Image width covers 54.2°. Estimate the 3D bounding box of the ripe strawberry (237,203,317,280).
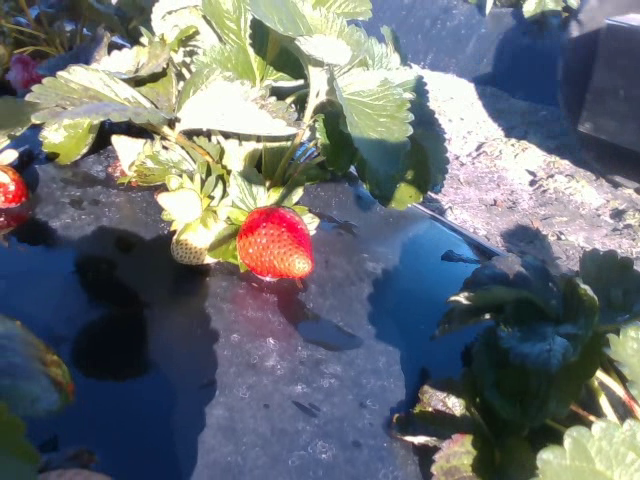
[{"bbox_3d":[-0.019,0.007,0.330,0.049,0.052,0.064,-40,39,-11],"label":"ripe strawberry"}]
